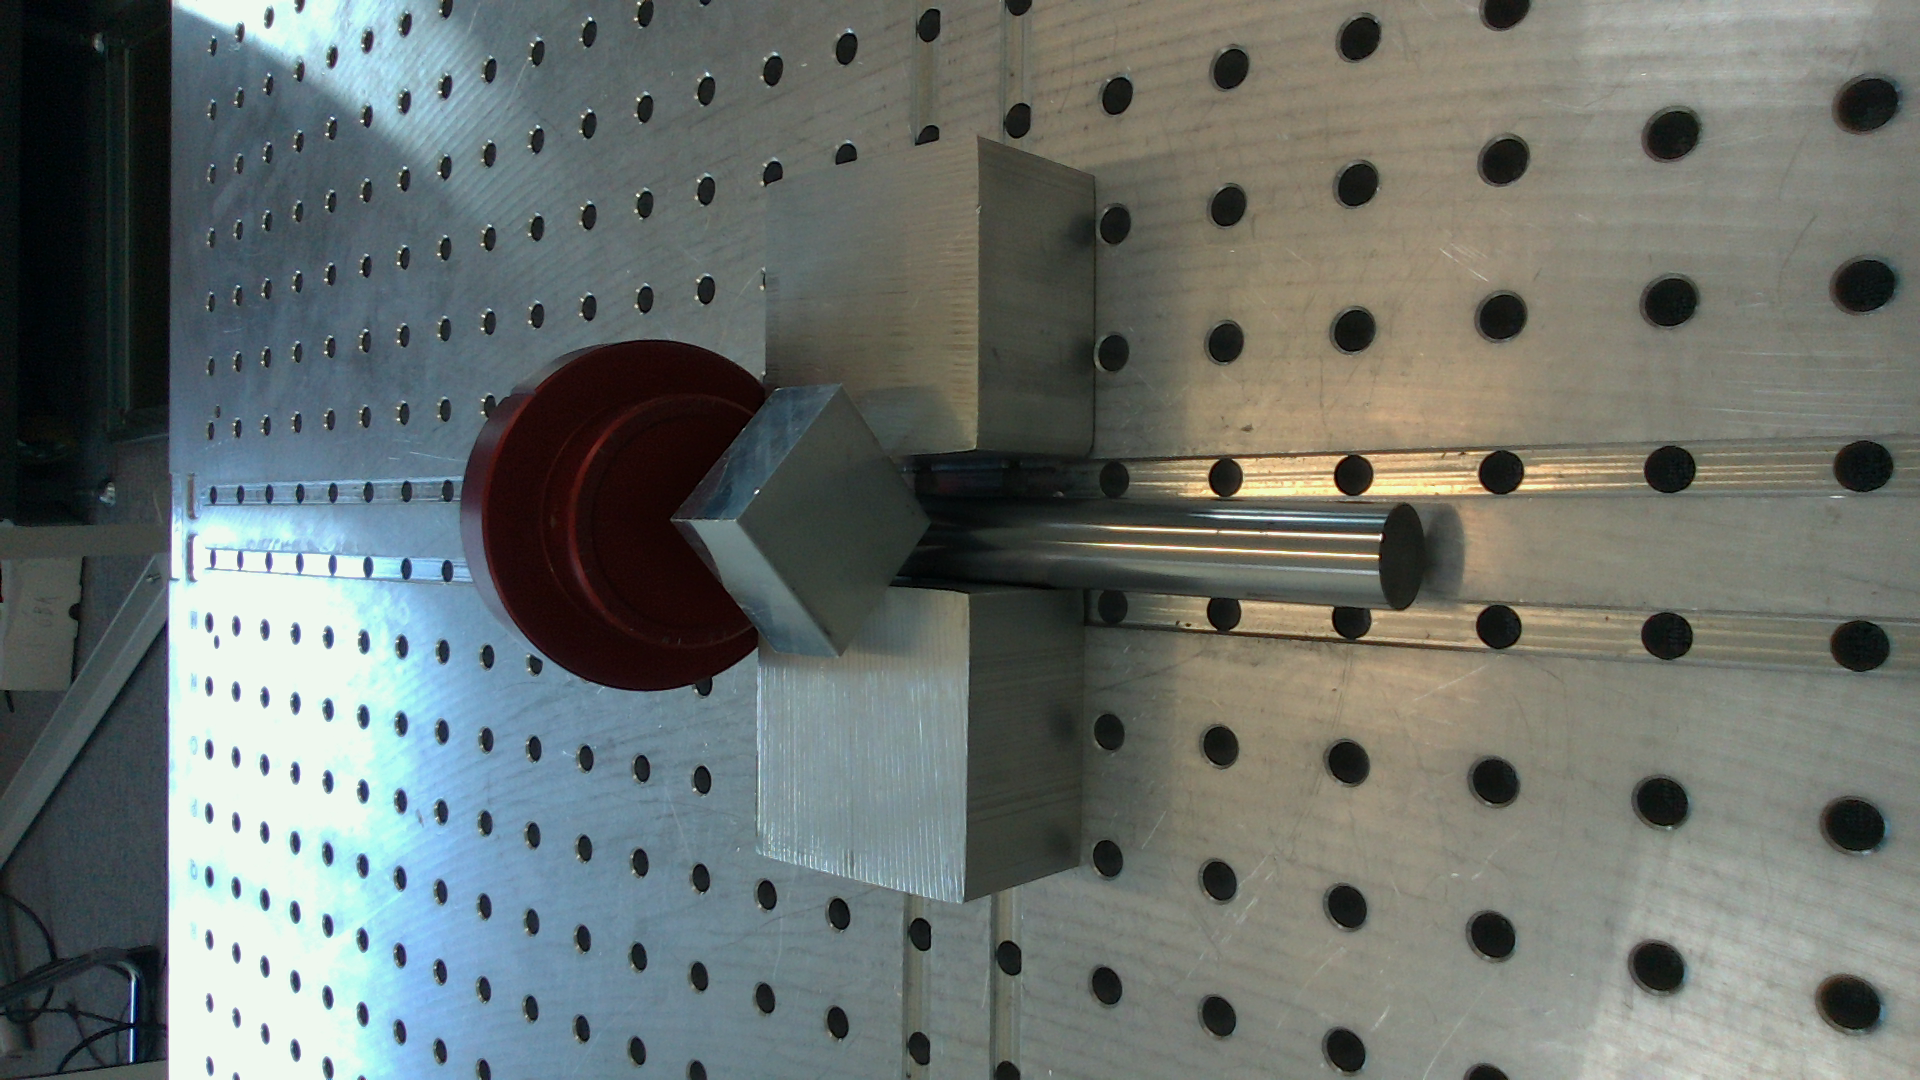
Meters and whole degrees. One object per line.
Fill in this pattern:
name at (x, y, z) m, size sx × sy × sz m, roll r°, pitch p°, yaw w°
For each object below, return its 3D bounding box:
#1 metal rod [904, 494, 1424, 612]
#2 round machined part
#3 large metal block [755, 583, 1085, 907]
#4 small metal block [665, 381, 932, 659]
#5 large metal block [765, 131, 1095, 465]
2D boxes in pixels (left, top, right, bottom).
metal rod at (-0.014, -0.001, 0.409) m, size 0.299 × 0.025 × 0.025 m, roll 3°, pitch 92°, yaw 40°
round machined part at (-0.083, -0.006, 0.382) m, size 0.042 × 0.098 × 0.098 m, roll 7°, pitch 95°, yaw 54°
large metal block at (-0.012, 0.052, 0.392) m, size 0.080 × 0.050 × 0.080 m, roll 2°, pitch 91°, yaw 40°
small metal block at (-0.040, -0.005, 0.358) m, size 0.025 × 0.050 × 0.050 m, roll 1°, pitch 47°, yaw 40°
large metal block at (-0.009, -0.063, 0.389) m, size 0.080 × 0.050 × 0.080 m, roll 1°, pitch 91°, yaw 40°
